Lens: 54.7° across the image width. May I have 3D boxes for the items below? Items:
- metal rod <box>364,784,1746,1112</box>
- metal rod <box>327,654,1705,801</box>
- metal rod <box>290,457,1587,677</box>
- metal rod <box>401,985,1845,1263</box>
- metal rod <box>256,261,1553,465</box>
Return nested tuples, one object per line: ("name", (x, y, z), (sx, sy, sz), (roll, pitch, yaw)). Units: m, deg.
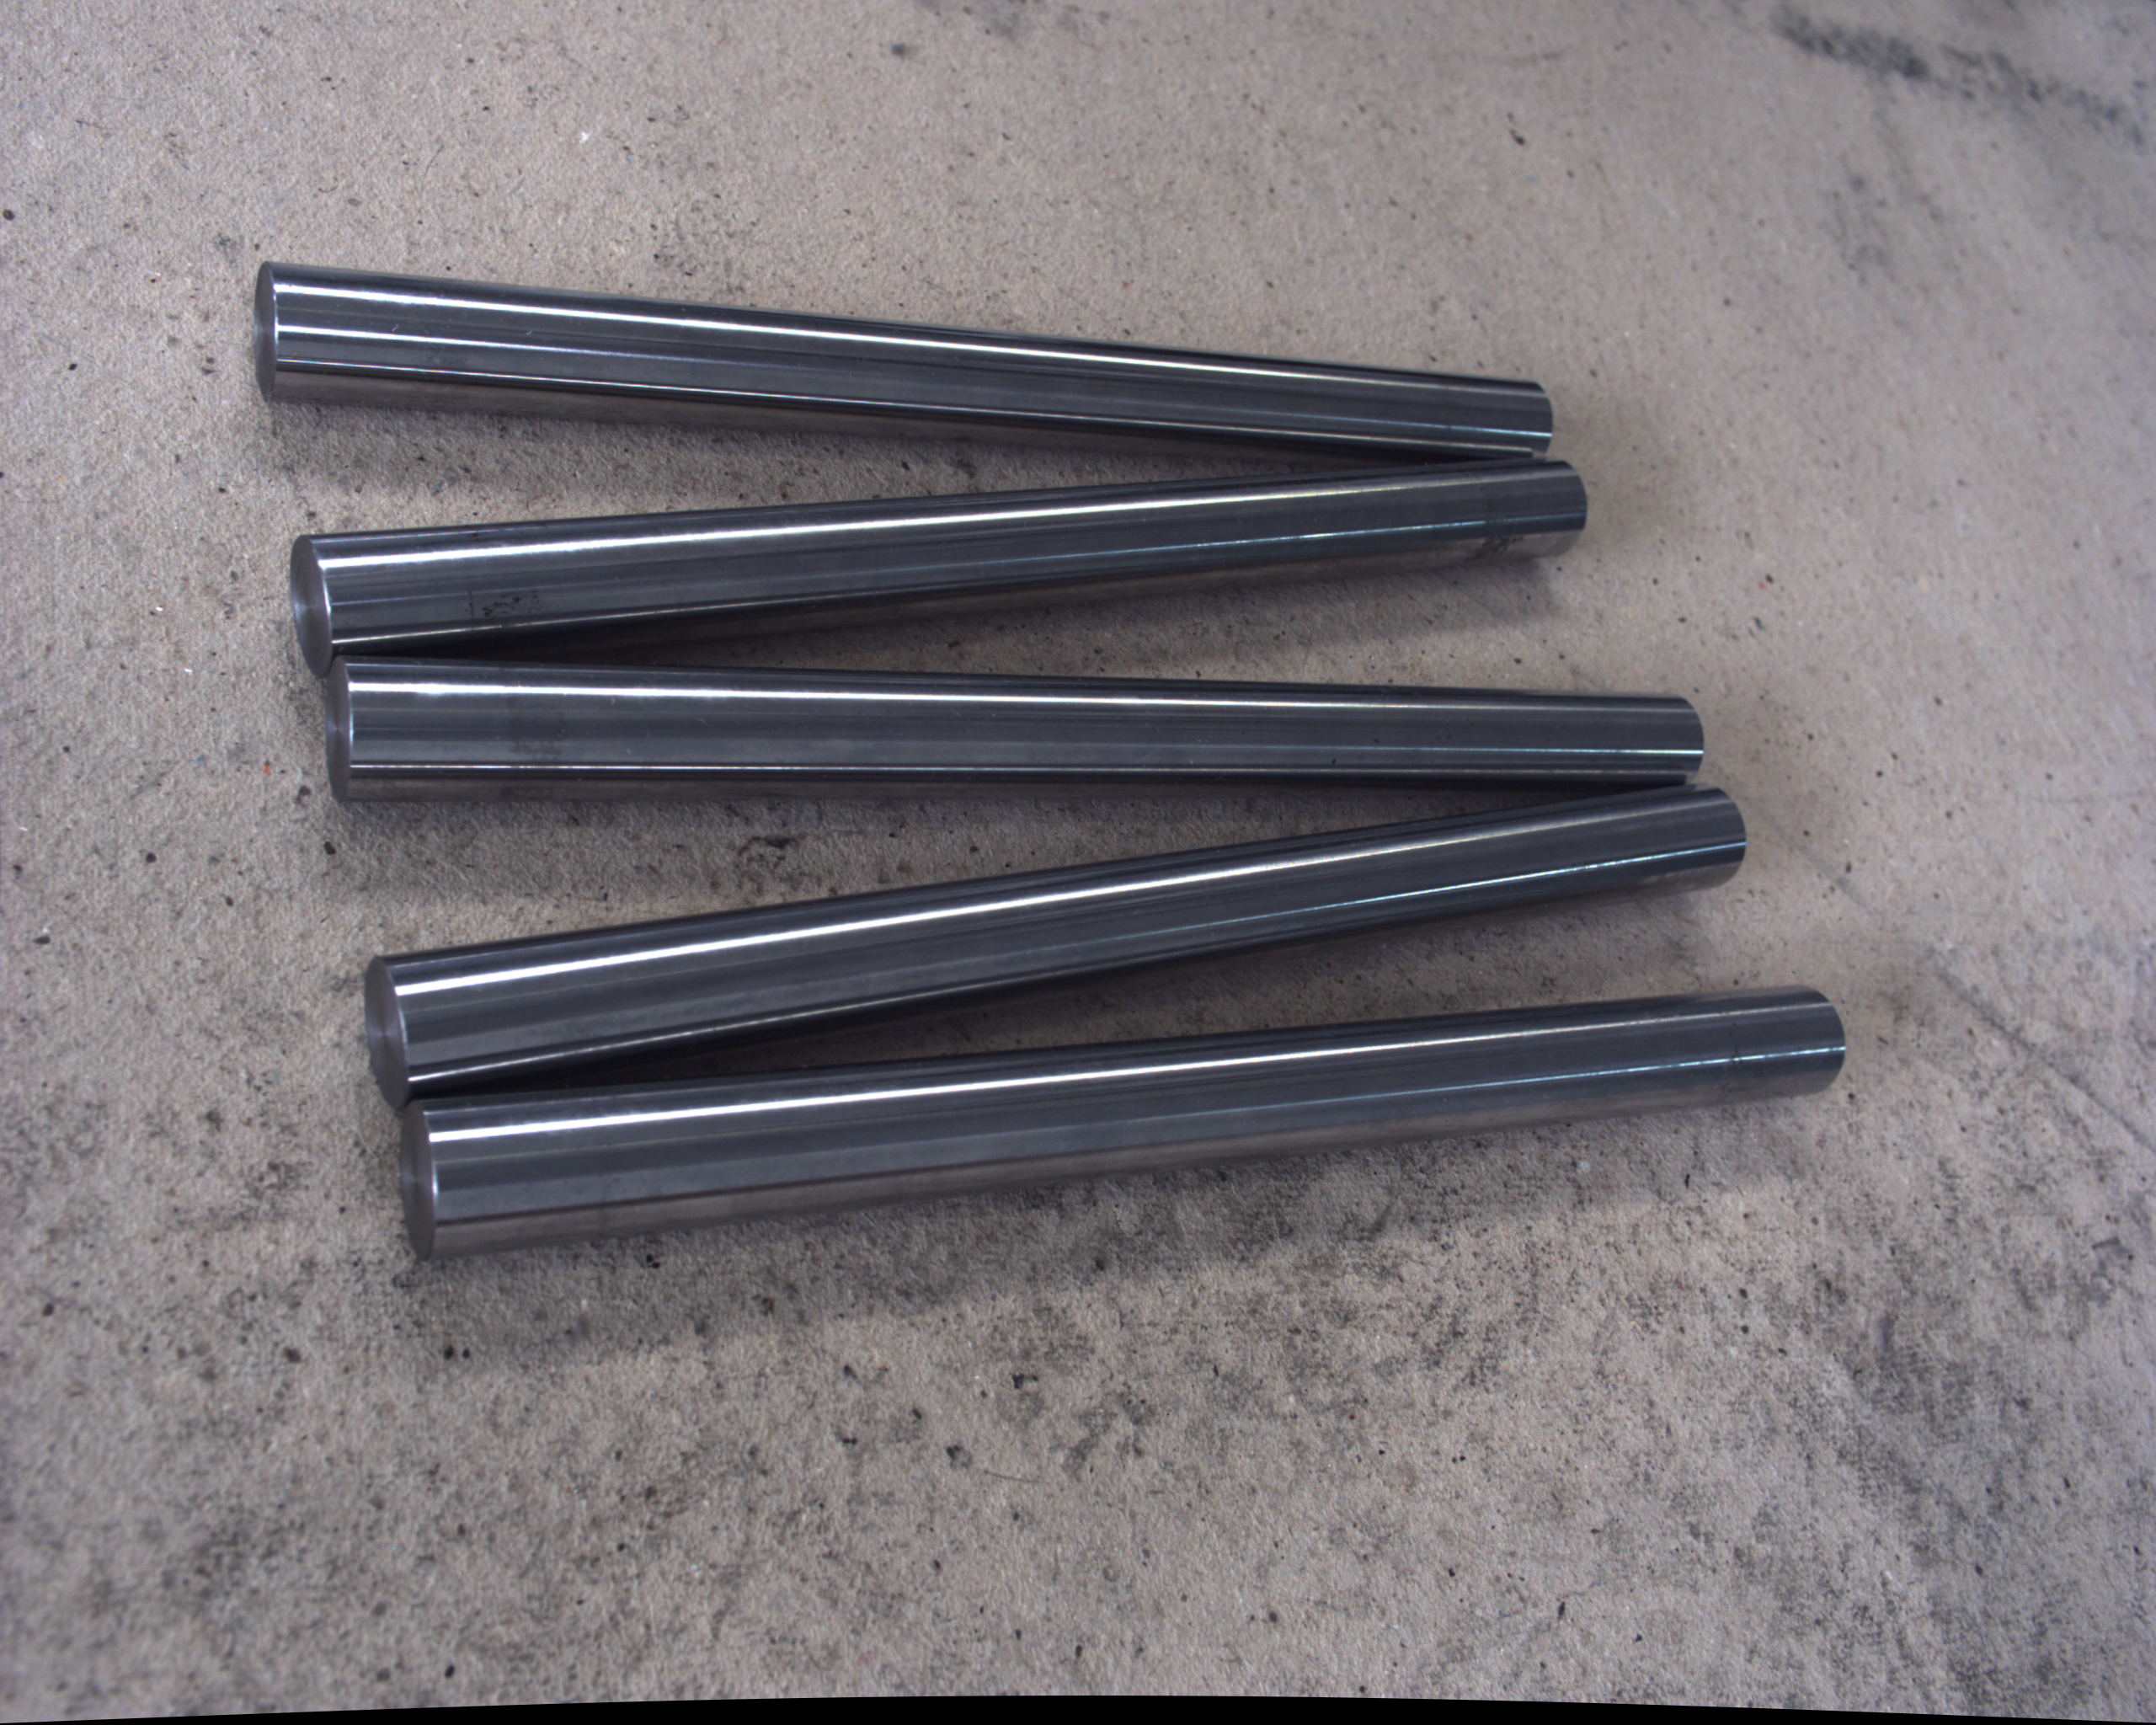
("metal rod", (0.018, 0.010, 0.409), (0.303, 0.025, 0.025), (-7, 66, -31))
("metal rod", (0.008, -0.025, 0.425), (0.303, 0.025, 0.025), (-1, 62, -29))
("metal rod", (-0.007, -0.067, 0.442), (0.303, 0.025, 0.025), (-10, 67, -32))
("metal rod", (0.030, 0.044, 0.395), (0.303, 0.025, 0.025), (-2, 63, -29))
("metal rod", (-0.019, -0.105, 0.459), (0.303, 0.025, 0.025), (-3, 63, -30))
